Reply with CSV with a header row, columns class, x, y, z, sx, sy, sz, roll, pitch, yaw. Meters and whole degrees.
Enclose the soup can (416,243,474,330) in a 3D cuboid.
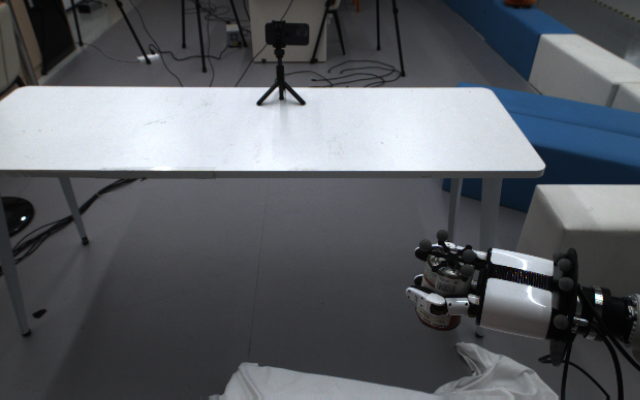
class,x,y,z,sx,sy,sz,roll,pitch,yaw
soup can,0.182,0.129,0.700,0.067,0.101,0.067,3,30,-2
